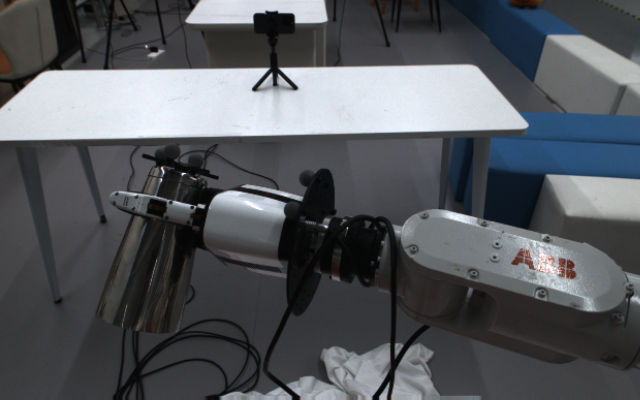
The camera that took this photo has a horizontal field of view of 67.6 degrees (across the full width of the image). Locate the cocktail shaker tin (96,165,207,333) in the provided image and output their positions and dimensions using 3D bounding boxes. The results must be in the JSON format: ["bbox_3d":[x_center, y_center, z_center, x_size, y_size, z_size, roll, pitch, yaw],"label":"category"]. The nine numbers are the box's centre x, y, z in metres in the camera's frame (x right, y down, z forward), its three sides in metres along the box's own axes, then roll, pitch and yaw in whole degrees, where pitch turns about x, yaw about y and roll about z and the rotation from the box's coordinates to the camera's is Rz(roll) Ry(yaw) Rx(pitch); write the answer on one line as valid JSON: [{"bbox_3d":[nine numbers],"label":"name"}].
[{"bbox_3d":[-0.180,0.052,0.548,0.093,0.170,0.093,15,-5,1],"label":"cocktail shaker tin"}]
